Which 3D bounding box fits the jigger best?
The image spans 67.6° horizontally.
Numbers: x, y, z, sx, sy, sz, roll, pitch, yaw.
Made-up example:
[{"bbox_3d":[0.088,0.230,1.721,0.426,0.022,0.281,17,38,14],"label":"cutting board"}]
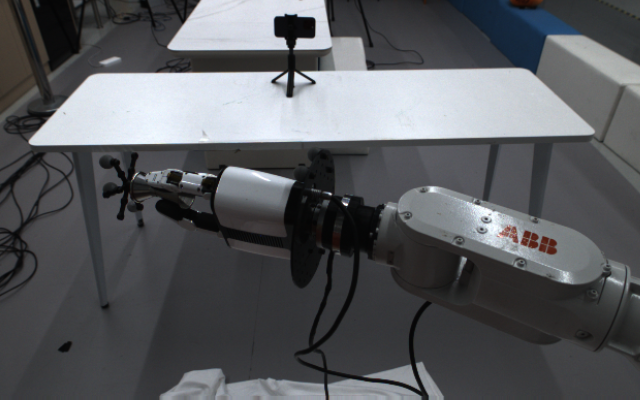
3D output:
[{"bbox_3d":[-0.192,-0.017,0.608,0.071,0.043,0.043,4,34,13],"label":"jigger"}]
